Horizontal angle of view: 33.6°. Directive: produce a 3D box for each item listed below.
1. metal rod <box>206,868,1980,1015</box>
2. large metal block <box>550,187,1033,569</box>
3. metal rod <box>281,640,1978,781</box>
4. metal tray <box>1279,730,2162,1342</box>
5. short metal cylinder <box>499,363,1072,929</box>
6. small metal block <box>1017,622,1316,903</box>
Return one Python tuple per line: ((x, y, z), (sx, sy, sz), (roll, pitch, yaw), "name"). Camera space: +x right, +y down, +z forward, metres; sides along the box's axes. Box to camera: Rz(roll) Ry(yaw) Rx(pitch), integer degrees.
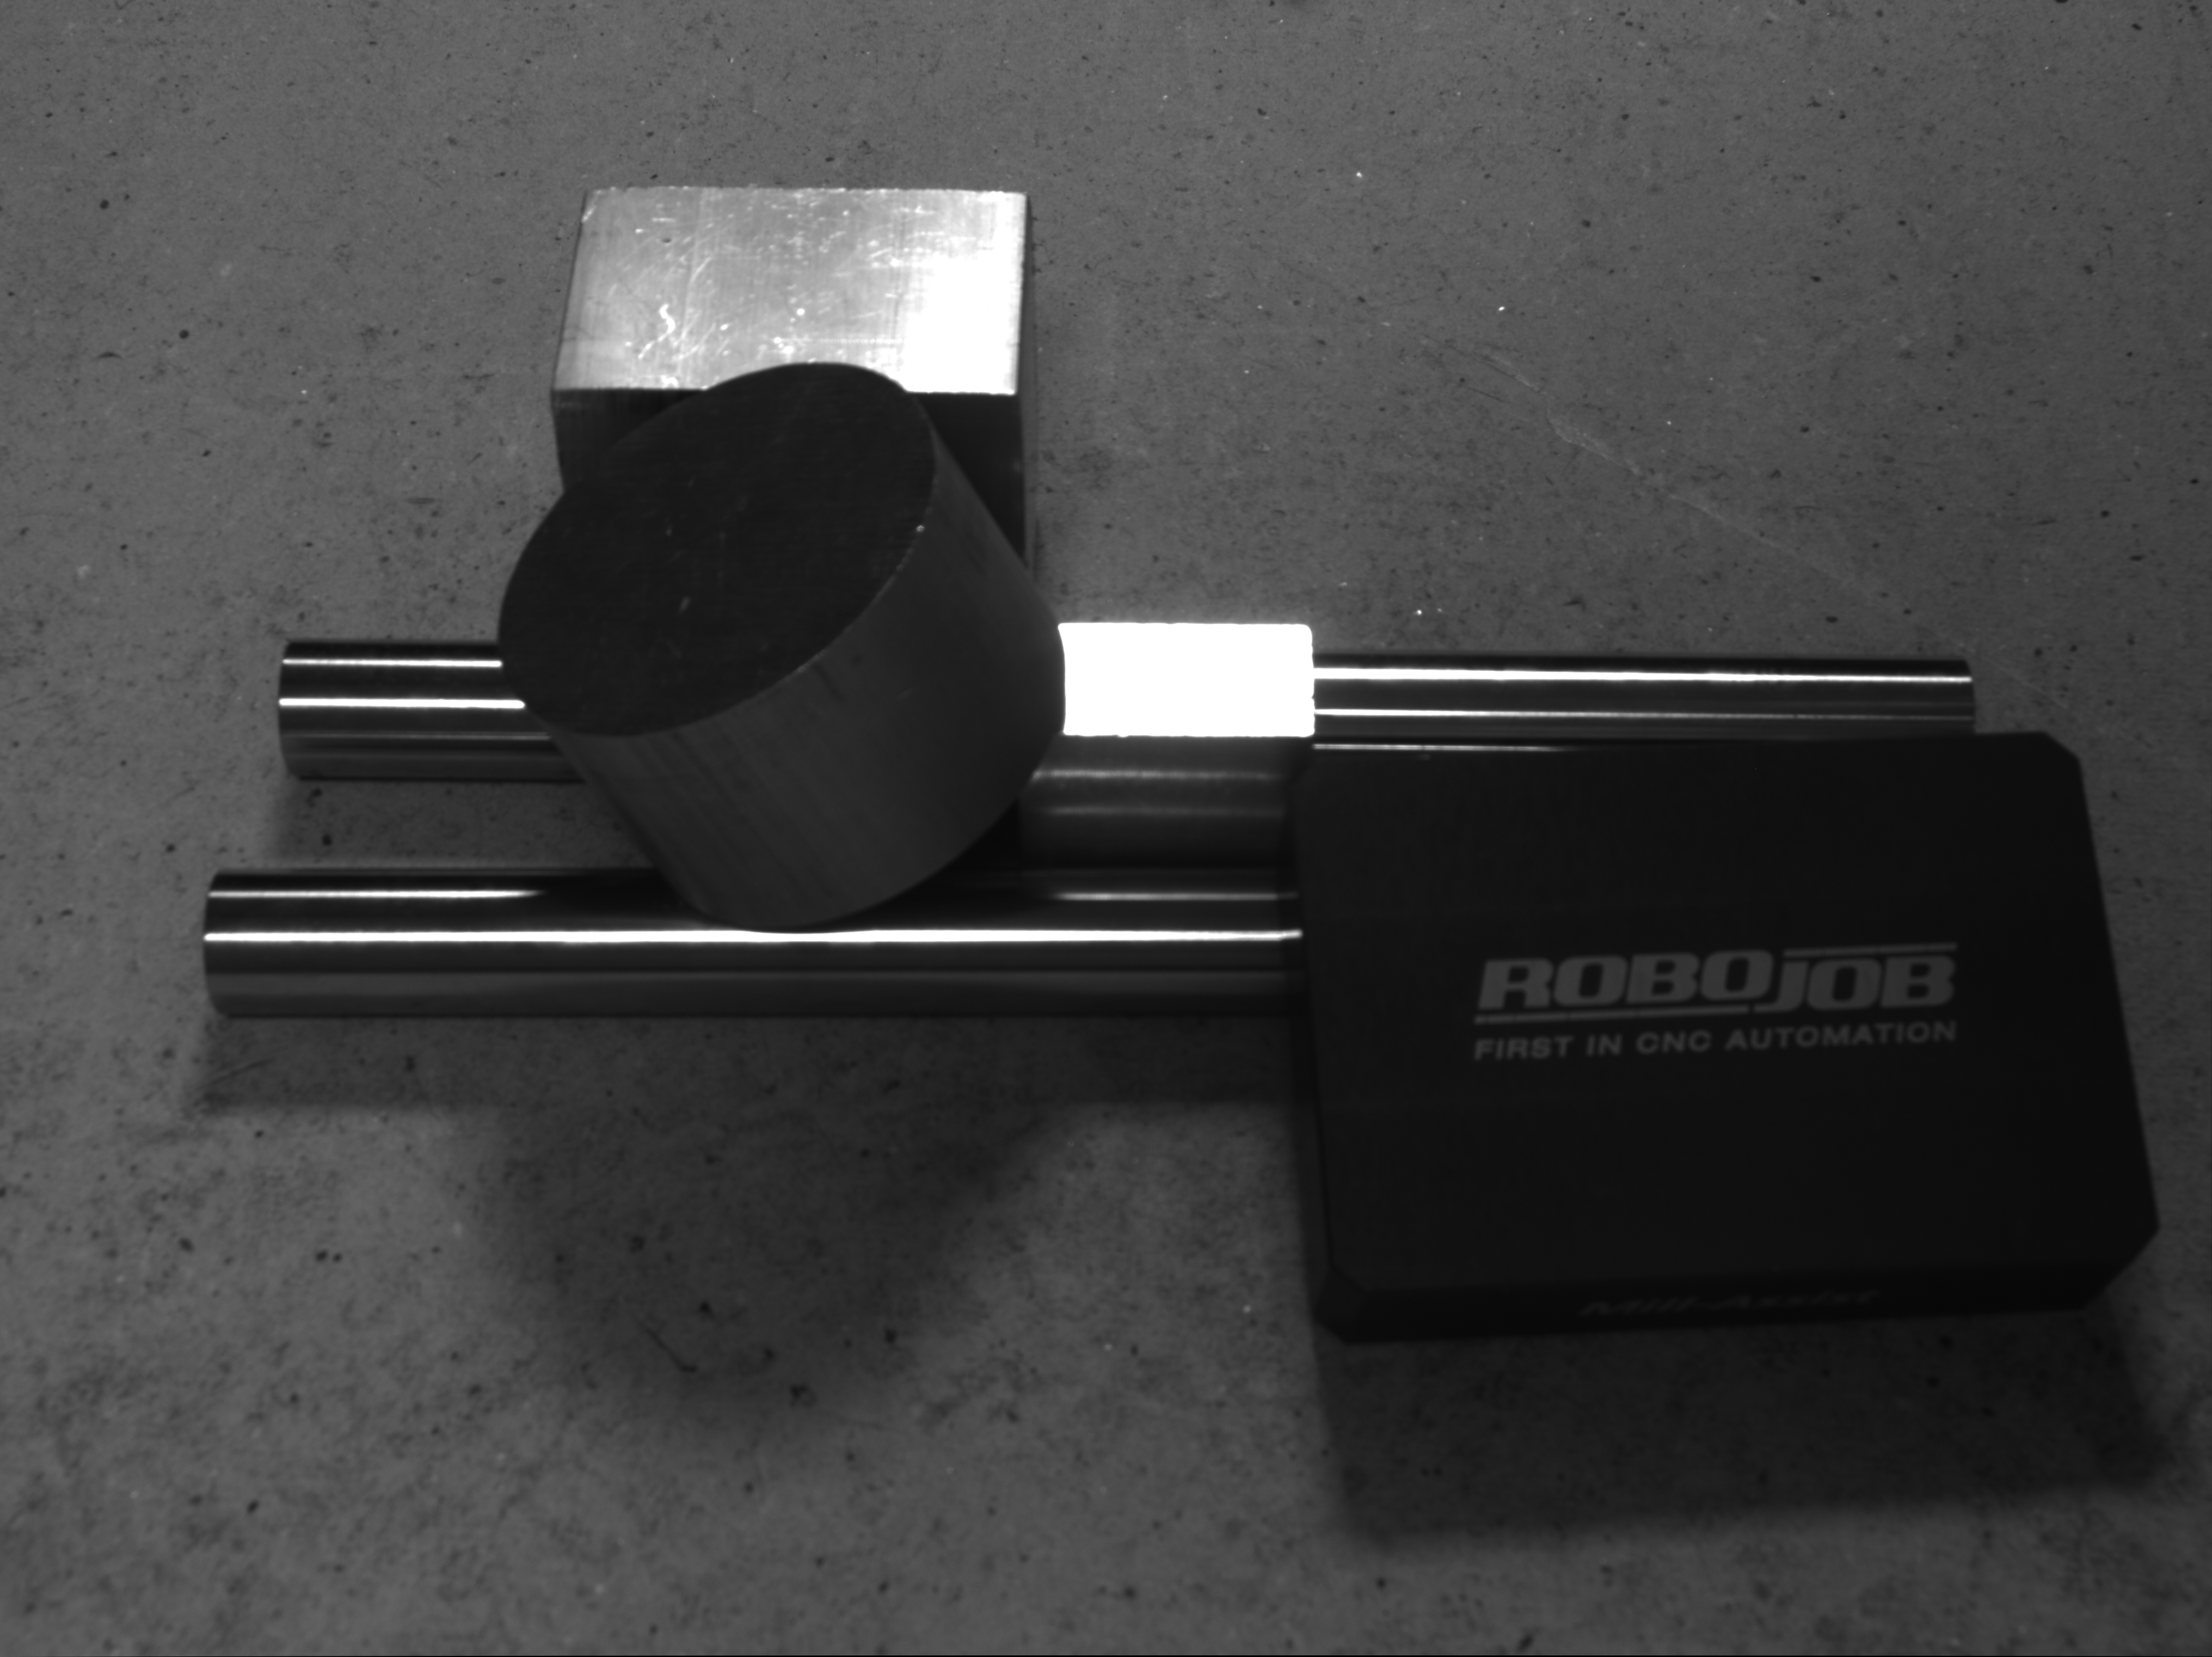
((-0.001, 0.019, 0.626), (0.300, 0.025, 0.025), (0, 50, 0), "metal rod")
((-0.053, -0.069, 0.665), (0.080, 0.080, 0.050), (1, 50, 1), "large metal block")
((0.004, -0.020, 0.659), (0.300, 0.025, 0.025), (1, 50, 0), "metal rod")
((0.096, 0.033, 0.593), (0.130, 0.030, 0.090), (-2, 67, -3), "metal tray")
((-0.052, -0.030, 0.605), (0.080, 0.050, 0.080), (-17, 45, 18), "short metal cylinder")
((0.010, -0.009, 0.633), (0.050, 0.050, 0.025), (1, 50, 1), "small metal block")
